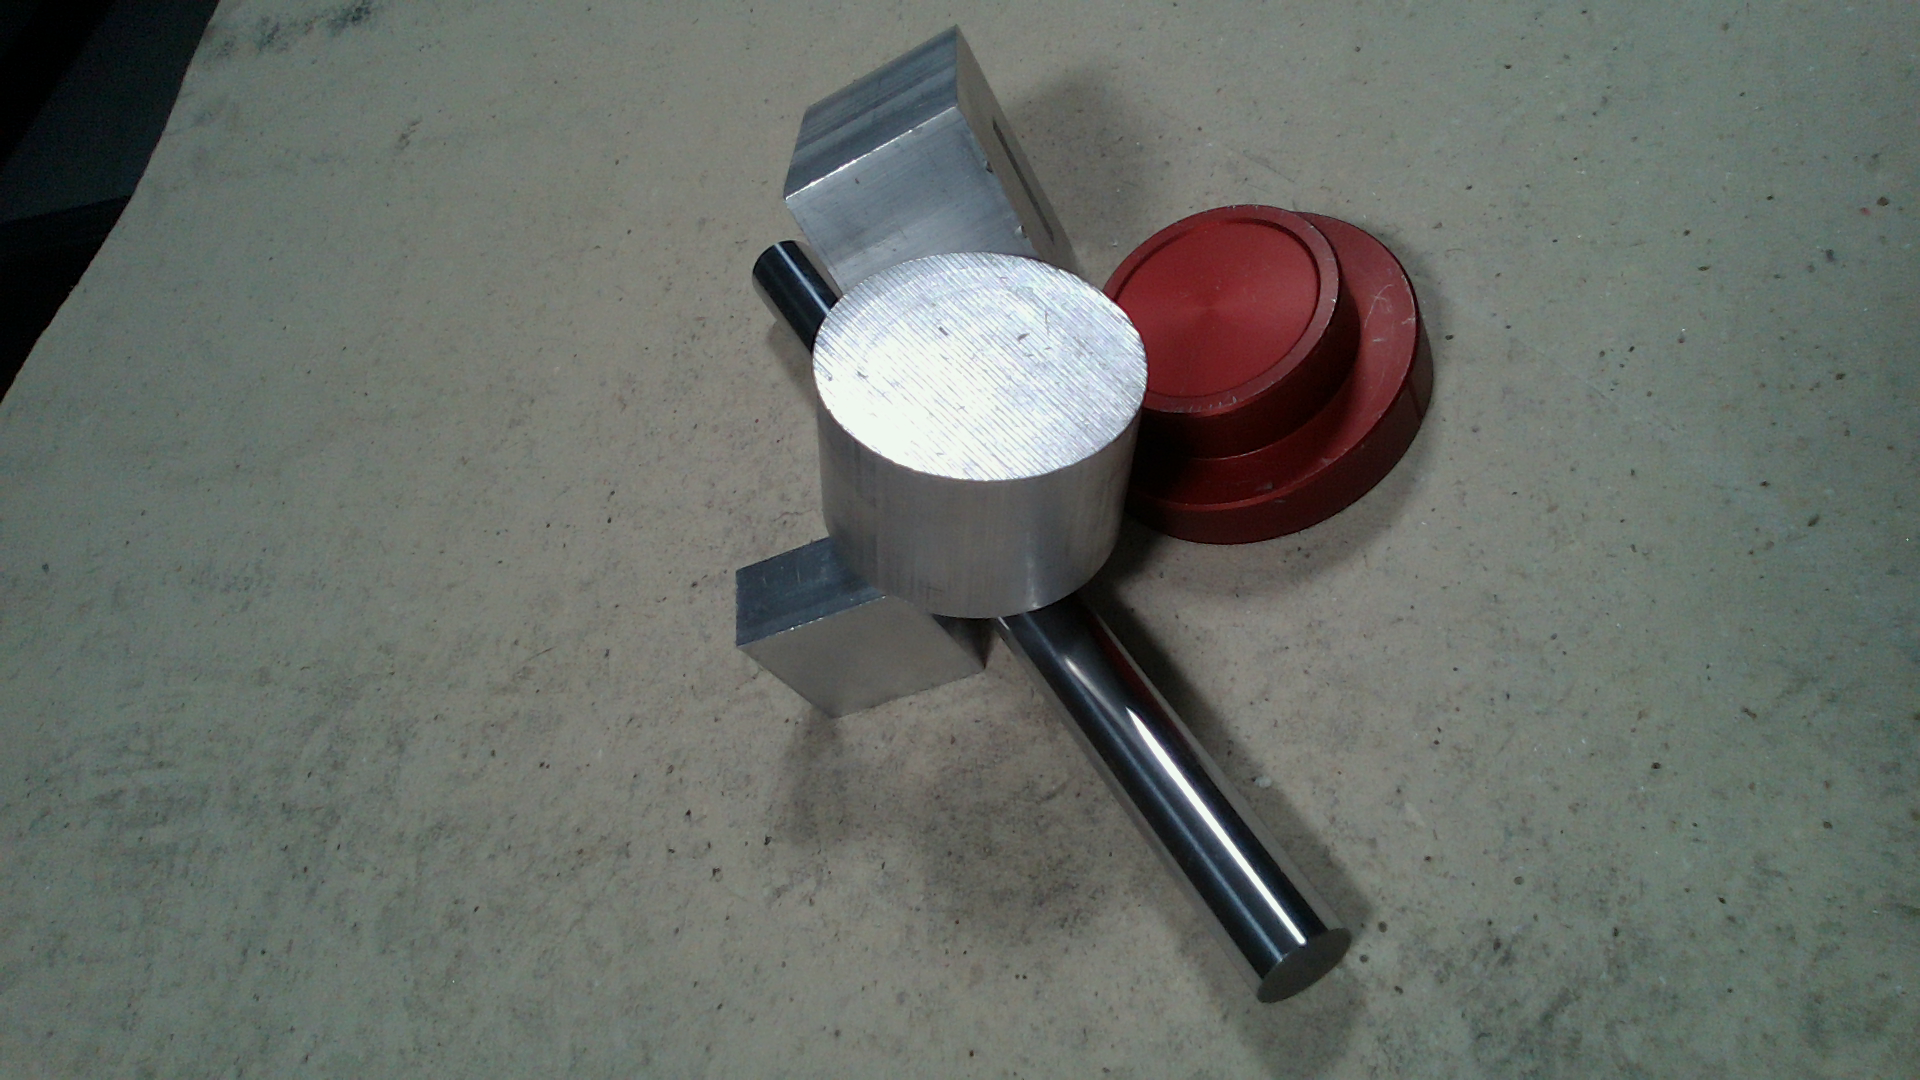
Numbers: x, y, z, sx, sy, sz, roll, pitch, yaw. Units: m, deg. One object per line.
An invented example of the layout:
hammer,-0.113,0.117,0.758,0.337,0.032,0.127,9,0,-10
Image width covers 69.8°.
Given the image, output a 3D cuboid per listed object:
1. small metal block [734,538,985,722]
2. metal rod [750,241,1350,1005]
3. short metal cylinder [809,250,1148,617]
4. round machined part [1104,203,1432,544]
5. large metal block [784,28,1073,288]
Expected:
small metal block,-0.027,0.023,0.380,0.050,0.050,0.025,-20,53,17
metal rod,0.006,-0.001,0.392,0.025,0.025,0.299,-38,51,3
short metal cylinder,0.004,-0.028,0.345,0.080,0.050,0.080,1,49,-1
round machined part,0.074,-0.052,0.374,0.098,0.042,0.098,-13,56,21
large metal block,-0.005,-0.092,0.404,0.050,0.080,0.080,-25,30,15
